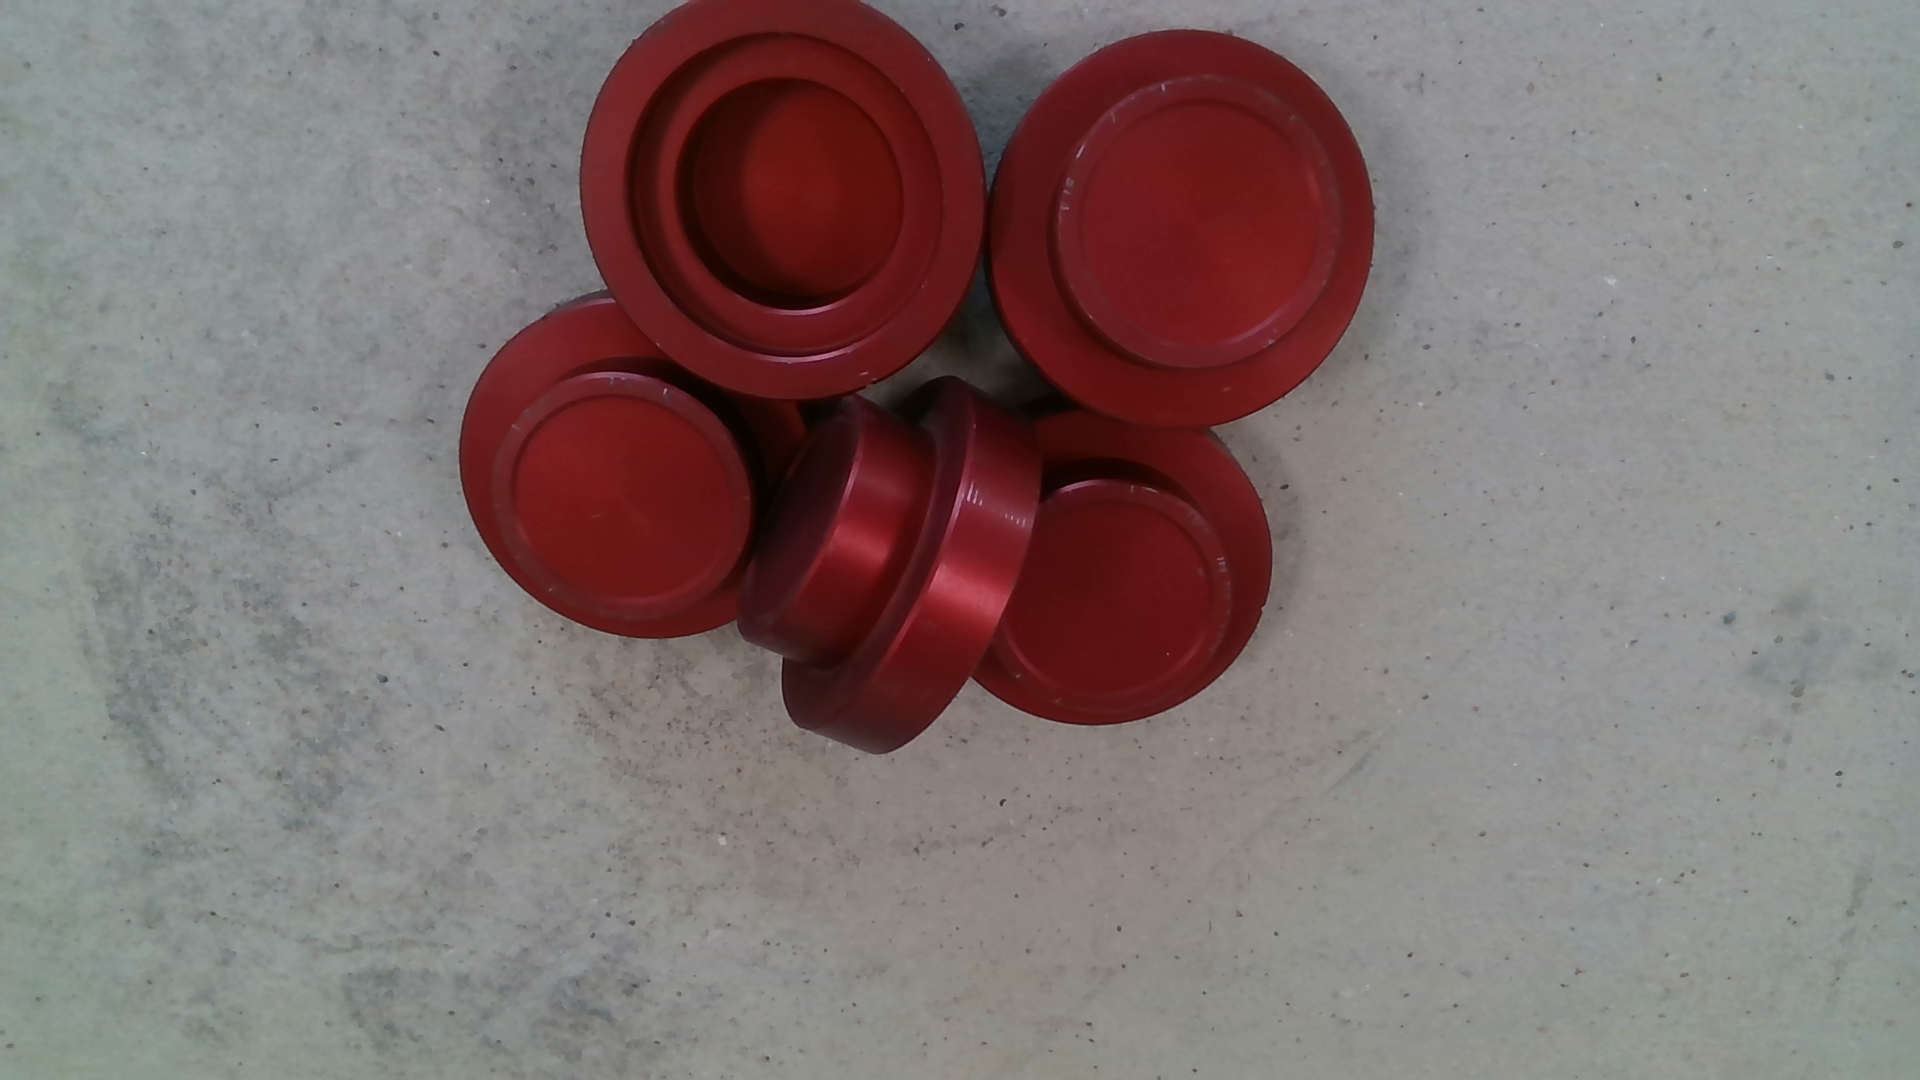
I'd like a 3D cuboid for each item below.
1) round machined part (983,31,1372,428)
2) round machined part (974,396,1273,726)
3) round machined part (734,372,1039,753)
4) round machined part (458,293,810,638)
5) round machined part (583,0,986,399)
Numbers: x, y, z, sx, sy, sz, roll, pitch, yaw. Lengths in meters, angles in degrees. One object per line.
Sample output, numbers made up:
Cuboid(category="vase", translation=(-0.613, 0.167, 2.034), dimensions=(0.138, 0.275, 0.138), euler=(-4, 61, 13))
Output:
Cuboid(category="round machined part", translation=(0.055, -0.077, 0.345), dimensions=(0.098, 0.042, 0.098), euler=(0, 97, -2))
Cuboid(category="round machined part", translation=(0.040, 0.009, 0.388), dimensions=(0.098, 0.042, 0.098), euler=(0, 111, -1))
Cuboid(category="round machined part", translation=(-0.024, 0.001, 0.353), dimensions=(0.042, 0.098, 0.098), euler=(23, 109, -22))
Cuboid(category="round machined part", translation=(-0.088, -0.017, 0.378), dimensions=(0.098, 0.042, 0.098), euler=(-1, 111, -1))
Cuboid(category="round machined part", translation=(-0.042, -0.089, 0.352), dimensions=(0.098, 0.042, 0.098), euler=(0, 110, 1))
